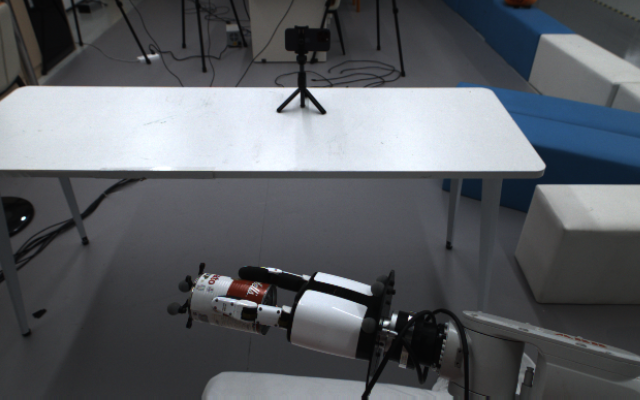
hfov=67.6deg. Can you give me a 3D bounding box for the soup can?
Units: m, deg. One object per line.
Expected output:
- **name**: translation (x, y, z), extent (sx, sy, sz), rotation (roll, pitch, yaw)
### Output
- **soup can**: translation (-0.114, 0.139, 0.651), extent (0.101, 0.067, 0.067), rotation (8, 35, 11)
